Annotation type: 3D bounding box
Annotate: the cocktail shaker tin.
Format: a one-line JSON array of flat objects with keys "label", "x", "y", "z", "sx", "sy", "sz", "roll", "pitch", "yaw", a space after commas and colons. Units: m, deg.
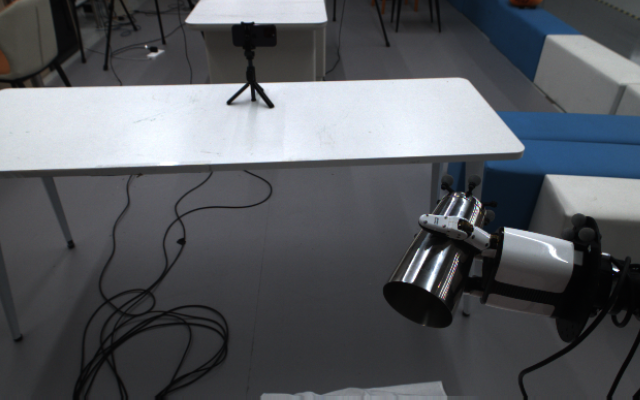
[{"label": "cocktail shaker tin", "x": 0.163, "y": 0.066, "z": 0.634, "sx": 0.093, "sy": 0.093, "sz": 0.170, "roll": 19, "pitch": 54, "yaw": 22}]
